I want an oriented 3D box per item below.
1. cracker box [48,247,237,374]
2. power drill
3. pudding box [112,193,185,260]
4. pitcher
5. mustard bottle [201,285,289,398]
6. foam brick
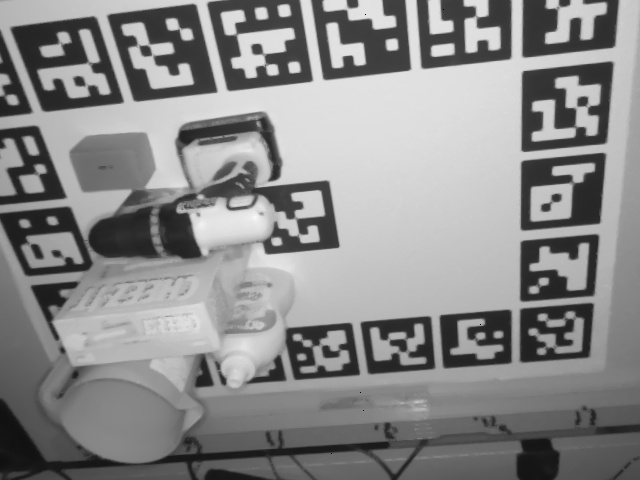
[{"bbox_3d":[-0.195,0.051,0.811,0.164,0.215,0.071,-8,120,5],"label":"cracker box"},{"bbox_3d":[-0.144,-0.044,0.740,0.184,0.189,0.057,-6,121,8],"label":"power drill"},{"bbox_3d":[-0.191,-0.018,0.835,0.114,0.090,0.038,-6,120,3],"label":"pudding box"},{"bbox_3d":[-0.227,0.147,0.858,0.189,0.244,0.132,-1,118,2],"label":"pitcher"},{"bbox_3d":[-0.095,0.128,0.855,0.096,0.193,0.058,6,118,0],"label":"mustard bottle"},{"bbox_3d":[-0.255,-0.084,0.840,0.078,0.052,0.052,-4,116,5],"label":"foam brick"}]
